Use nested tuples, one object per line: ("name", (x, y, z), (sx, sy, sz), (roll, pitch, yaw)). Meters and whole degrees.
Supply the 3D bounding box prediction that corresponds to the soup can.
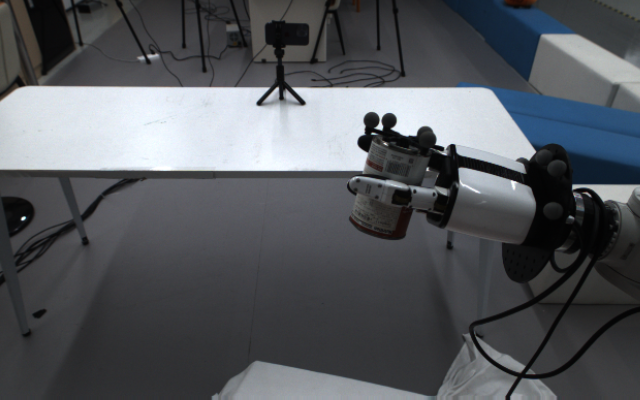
("soup can", (0.080, -0.016, 0.544), (0.067, 0.101, 0.067), (13, 18, -4))
